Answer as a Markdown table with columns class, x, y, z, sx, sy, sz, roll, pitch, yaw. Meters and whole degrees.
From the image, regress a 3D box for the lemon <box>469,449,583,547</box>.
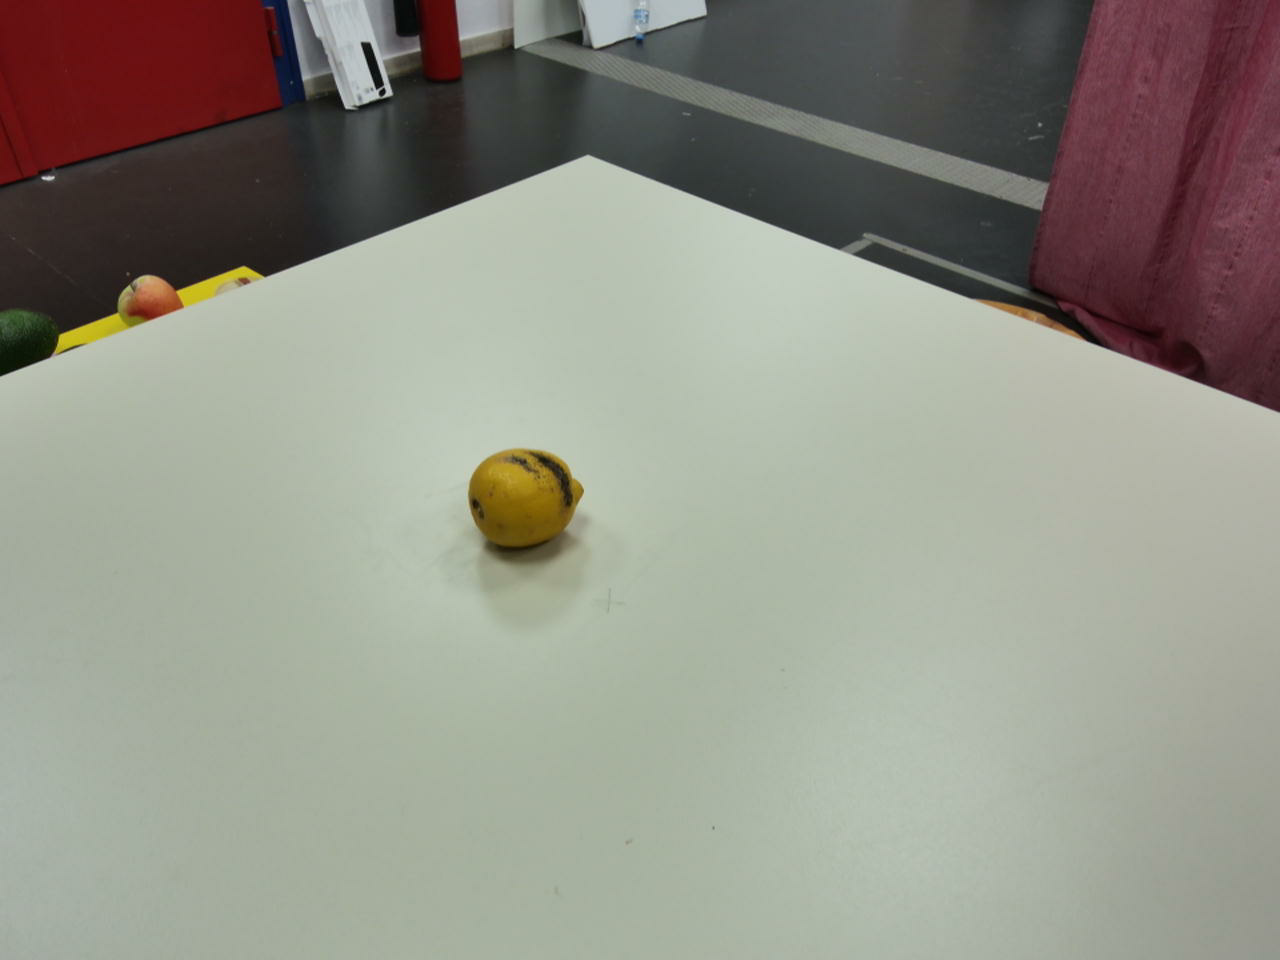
| class | x | y | z | sx | sy | sz | roll | pitch | yaw |
| --- | --- | --- | --- | --- | --- | --- | --- | --- | --- |
| lemon | -0.067 | 0.010 | 0.569 | 0.058 | 0.056 | 0.061 | 23 | 43 | 26 |
